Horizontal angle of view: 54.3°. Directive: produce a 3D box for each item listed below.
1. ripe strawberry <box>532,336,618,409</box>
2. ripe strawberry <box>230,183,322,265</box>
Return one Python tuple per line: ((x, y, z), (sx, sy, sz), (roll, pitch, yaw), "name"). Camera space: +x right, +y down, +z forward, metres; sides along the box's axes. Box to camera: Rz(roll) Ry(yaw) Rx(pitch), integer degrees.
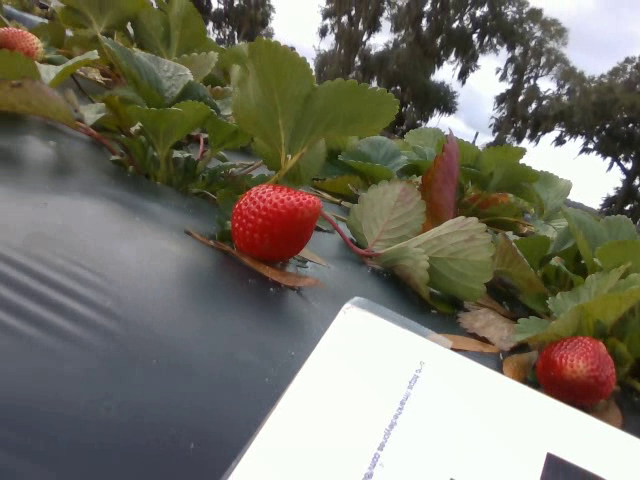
((0.114, 0.056, 0.267), (0.040, 0.037, 0.042), (34, 2, 20), "ripe strawberry")
((-0.018, -0.012, 0.308), (0.065, 0.043, 0.047), (-20, 22, 50), "ripe strawberry")
